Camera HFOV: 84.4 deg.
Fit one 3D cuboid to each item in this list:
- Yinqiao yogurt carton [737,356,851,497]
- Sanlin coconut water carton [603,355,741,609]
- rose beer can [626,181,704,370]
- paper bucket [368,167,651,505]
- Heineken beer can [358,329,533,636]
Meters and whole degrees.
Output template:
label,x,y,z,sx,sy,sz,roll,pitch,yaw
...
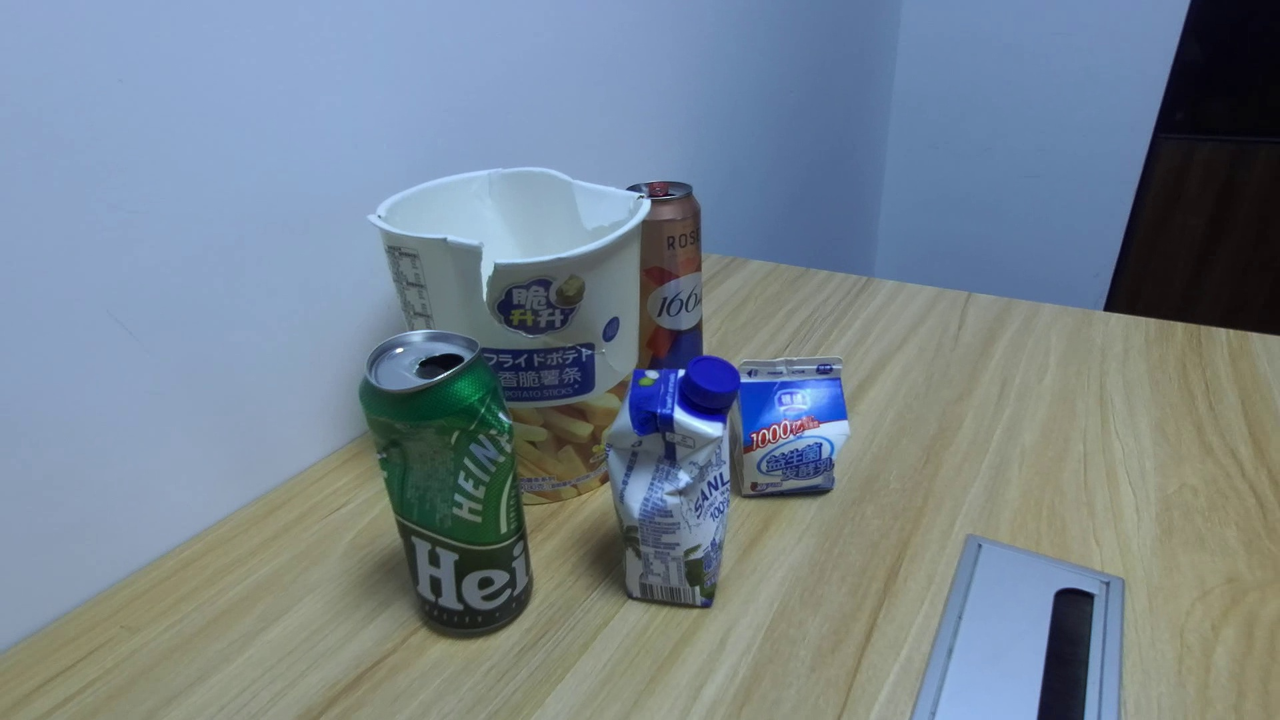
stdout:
label,x,y,z,sx,sy,sz,roll,pitch,yaw
Yinqiao yogurt carton,0.100,0.038,0.479,0.074,0.097,0.080,-5,34,-4
Sanlin coconut water carton,0.018,0.065,0.385,0.070,0.144,0.061,4,30,12
rose beer can,0.020,-0.060,0.602,0.068,0.169,0.068,-3,28,2
paper bucket,-0.078,-0.019,0.499,0.201,0.197,0.146,21,38,39
Heineken beer can,-0.101,0.068,0.377,0.066,0.164,0.077,-15,33,-18
